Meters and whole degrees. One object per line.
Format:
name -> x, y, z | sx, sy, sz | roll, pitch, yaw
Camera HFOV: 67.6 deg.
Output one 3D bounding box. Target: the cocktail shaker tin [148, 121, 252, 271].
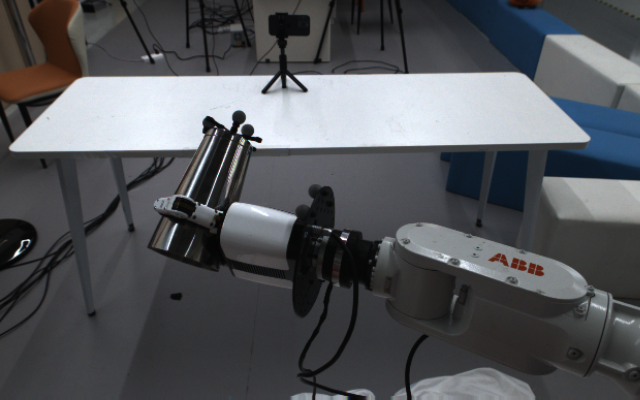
cocktail shaker tin -> -0.148, -0.003, 0.624 | 0.093, 0.093, 0.170 | 14, 72, 16
